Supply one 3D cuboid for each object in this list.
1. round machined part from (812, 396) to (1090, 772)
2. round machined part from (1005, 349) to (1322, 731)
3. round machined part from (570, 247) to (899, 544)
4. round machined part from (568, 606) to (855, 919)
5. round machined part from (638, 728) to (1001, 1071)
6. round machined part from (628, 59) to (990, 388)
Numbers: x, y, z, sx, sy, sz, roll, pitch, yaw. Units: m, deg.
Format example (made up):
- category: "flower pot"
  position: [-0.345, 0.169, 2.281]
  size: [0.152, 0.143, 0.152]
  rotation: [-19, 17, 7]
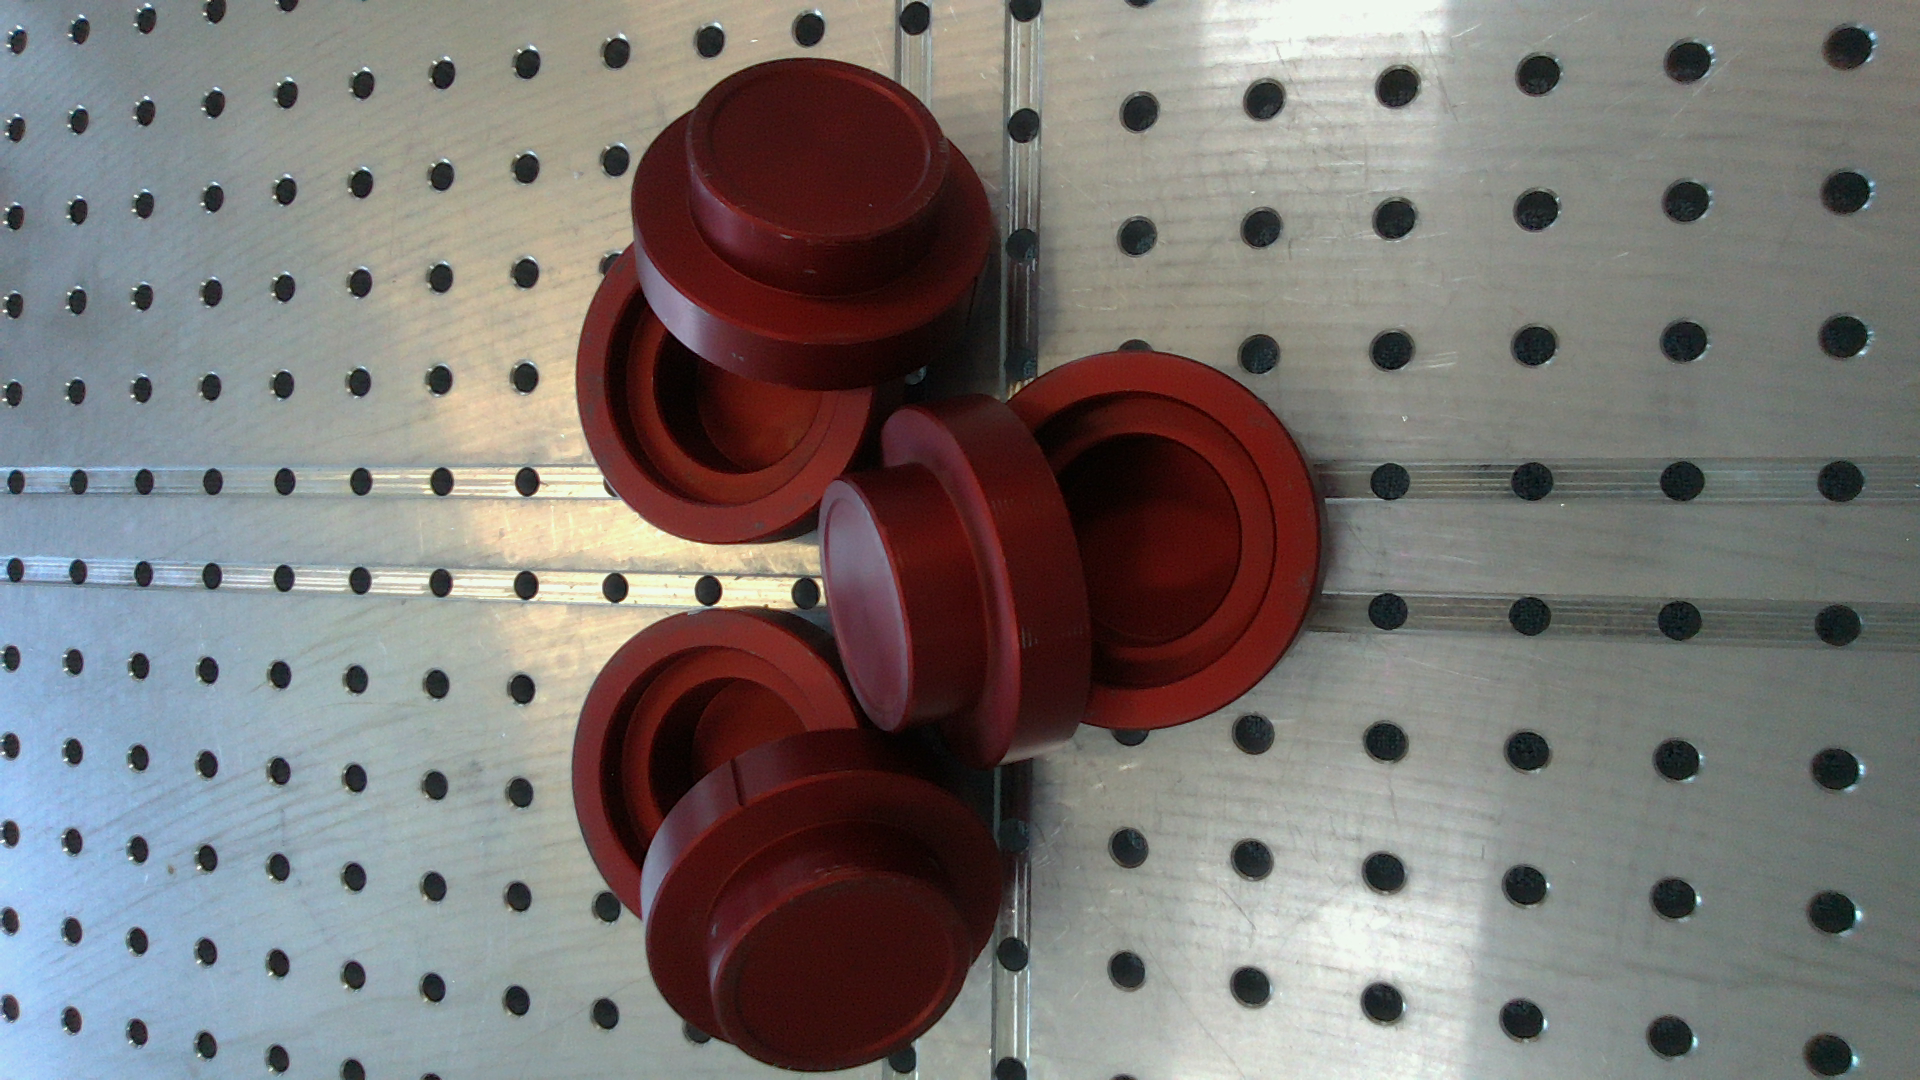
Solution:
- category: "round machined part"
  position: [-0.008, 0.013, 0.360]
  size: [0.042, 0.098, 0.098]
  rotation: [-11, 85, -22]
- category: "round machined part"
  position: [0.049, 0.000, 0.371]
  size: [0.098, 0.042, 0.098]
  rotation: [0, 90, 20]
- category: "round machined part"
  position: [-0.063, -0.048, 0.411]
  size: [0.098, 0.042, 0.098]
  rotation: [0, 90, 20]
- category: "round machined part"
  position: [-0.064, 0.068, 0.412]
  size: [0.098, 0.042, 0.098]
  rotation: [0, 90, 20]
- category: "round machined part"
  position: [-0.035, 0.103, 0.372]
  size: [0.098, 0.042, 0.098]
  rotation: [-8, 119, -14]
- category: "round machined part"
  position: [-0.040, -0.092, 0.374]
  size: [0.098, 0.042, 0.098]
  rotation: [5, 56, -8]
